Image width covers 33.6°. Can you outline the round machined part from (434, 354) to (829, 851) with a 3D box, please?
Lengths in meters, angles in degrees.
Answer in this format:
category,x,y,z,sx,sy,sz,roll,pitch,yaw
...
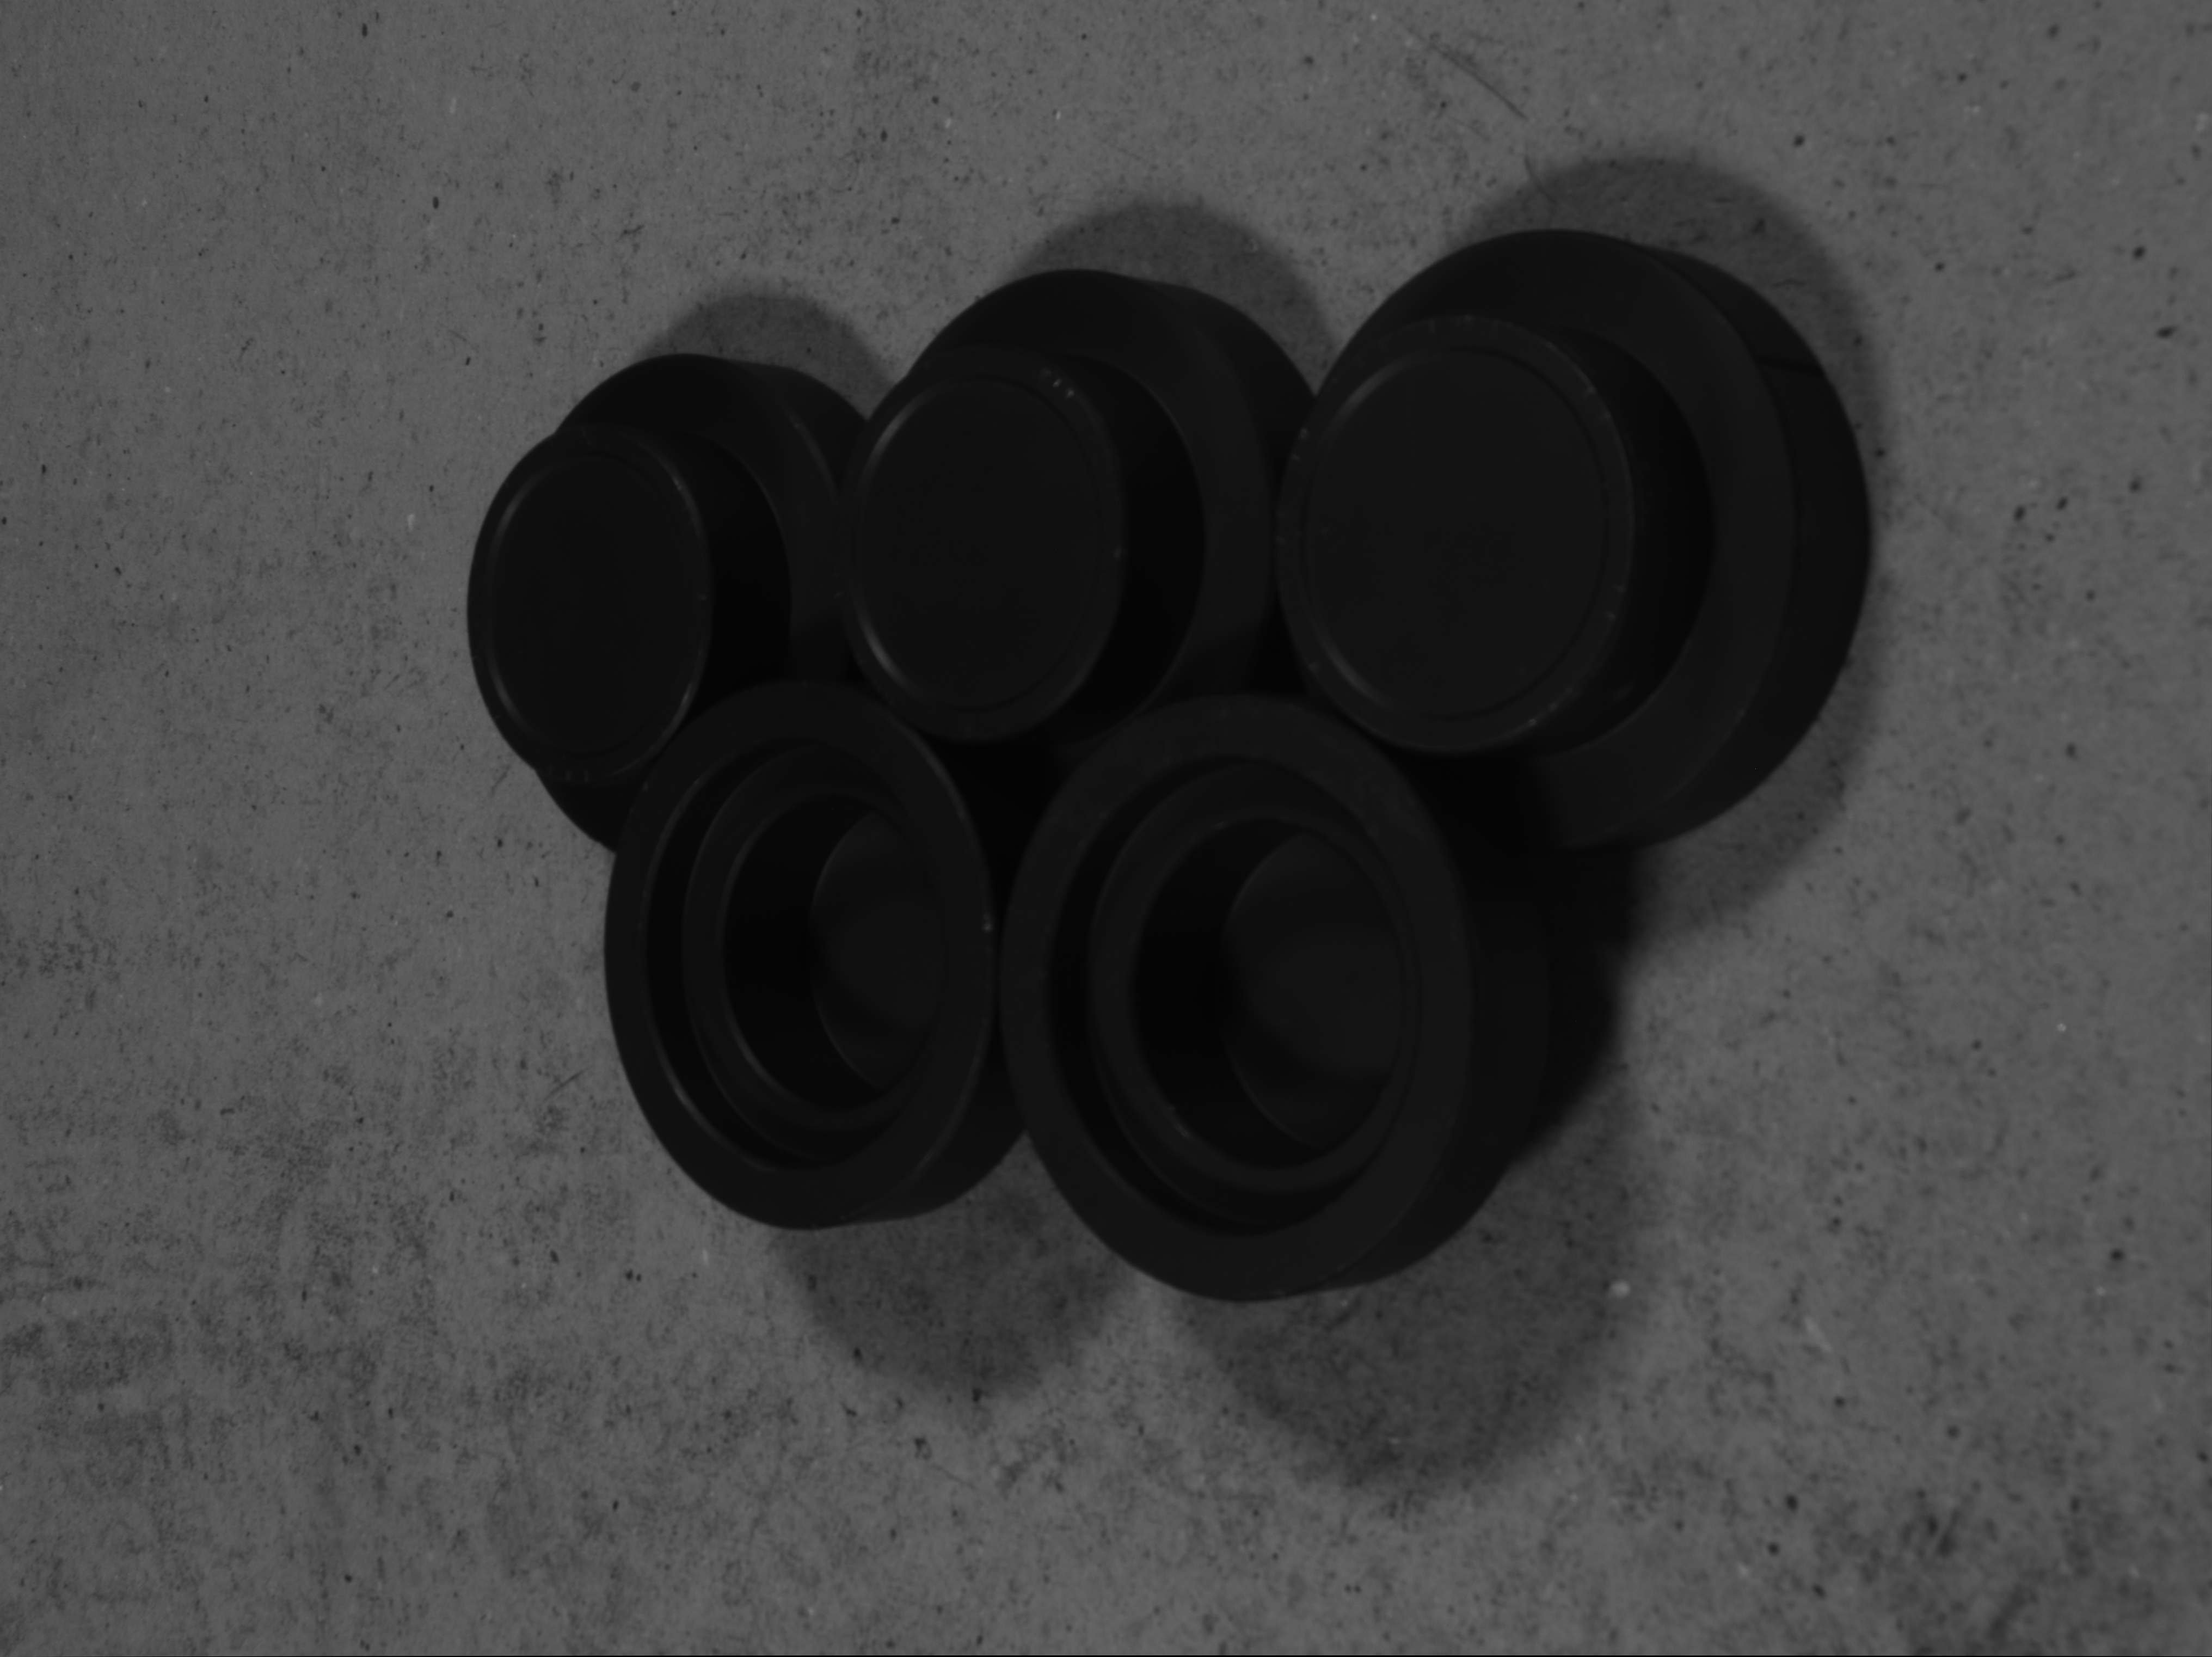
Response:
category,x,y,z,sx,sy,sz,roll,pitch,yaw
round machined part,-0.091,-0.042,0.700,0.098,0.042,0.098,0,90,39

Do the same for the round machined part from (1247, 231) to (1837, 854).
category,x,y,z,sx,sy,sz,roll,pitch,yaw
round machined part,0.061,-0.045,0.576,0.098,0.042,0.098,0,90,39

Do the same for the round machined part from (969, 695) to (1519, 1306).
category,x,y,z,sx,sy,sz,roll,pitch,yaw
round machined part,0.027,0.028,0.603,0.098,0.042,0.098,0,90,39

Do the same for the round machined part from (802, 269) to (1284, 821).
category,x,y,z,sx,sy,sz,roll,pitch,yaw
round machined part,-0.014,-0.049,0.638,0.098,0.042,0.098,0,90,39

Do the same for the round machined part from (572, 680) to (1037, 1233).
category,x,y,z,sx,sy,sz,roll,pitch,yaw
round machined part,-0.049,0.023,0.665,0.098,0.042,0.098,0,90,39
